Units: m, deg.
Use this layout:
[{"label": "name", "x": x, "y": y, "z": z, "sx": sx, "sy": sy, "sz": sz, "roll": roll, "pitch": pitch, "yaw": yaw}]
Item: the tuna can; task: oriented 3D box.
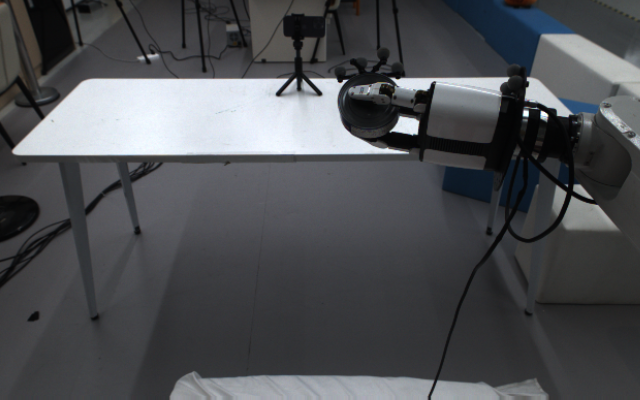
[{"label": "tuna can", "x": 0.068, "y": -0.129, "z": 0.662, "sx": 0.085, "sy": 0.034, "sz": 0.085, "roll": -2, "pitch": 69, "yaw": 6}]
